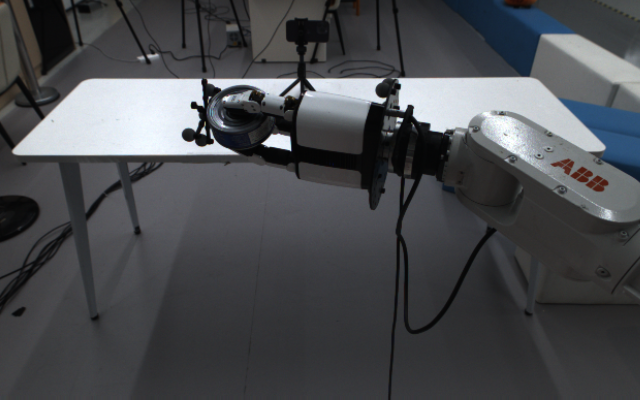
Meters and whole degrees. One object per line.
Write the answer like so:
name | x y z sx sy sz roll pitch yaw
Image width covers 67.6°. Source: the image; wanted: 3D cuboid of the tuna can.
tuna can | -0.102 -0.110 0.633 0.085 0.034 0.085 -2 58 3
